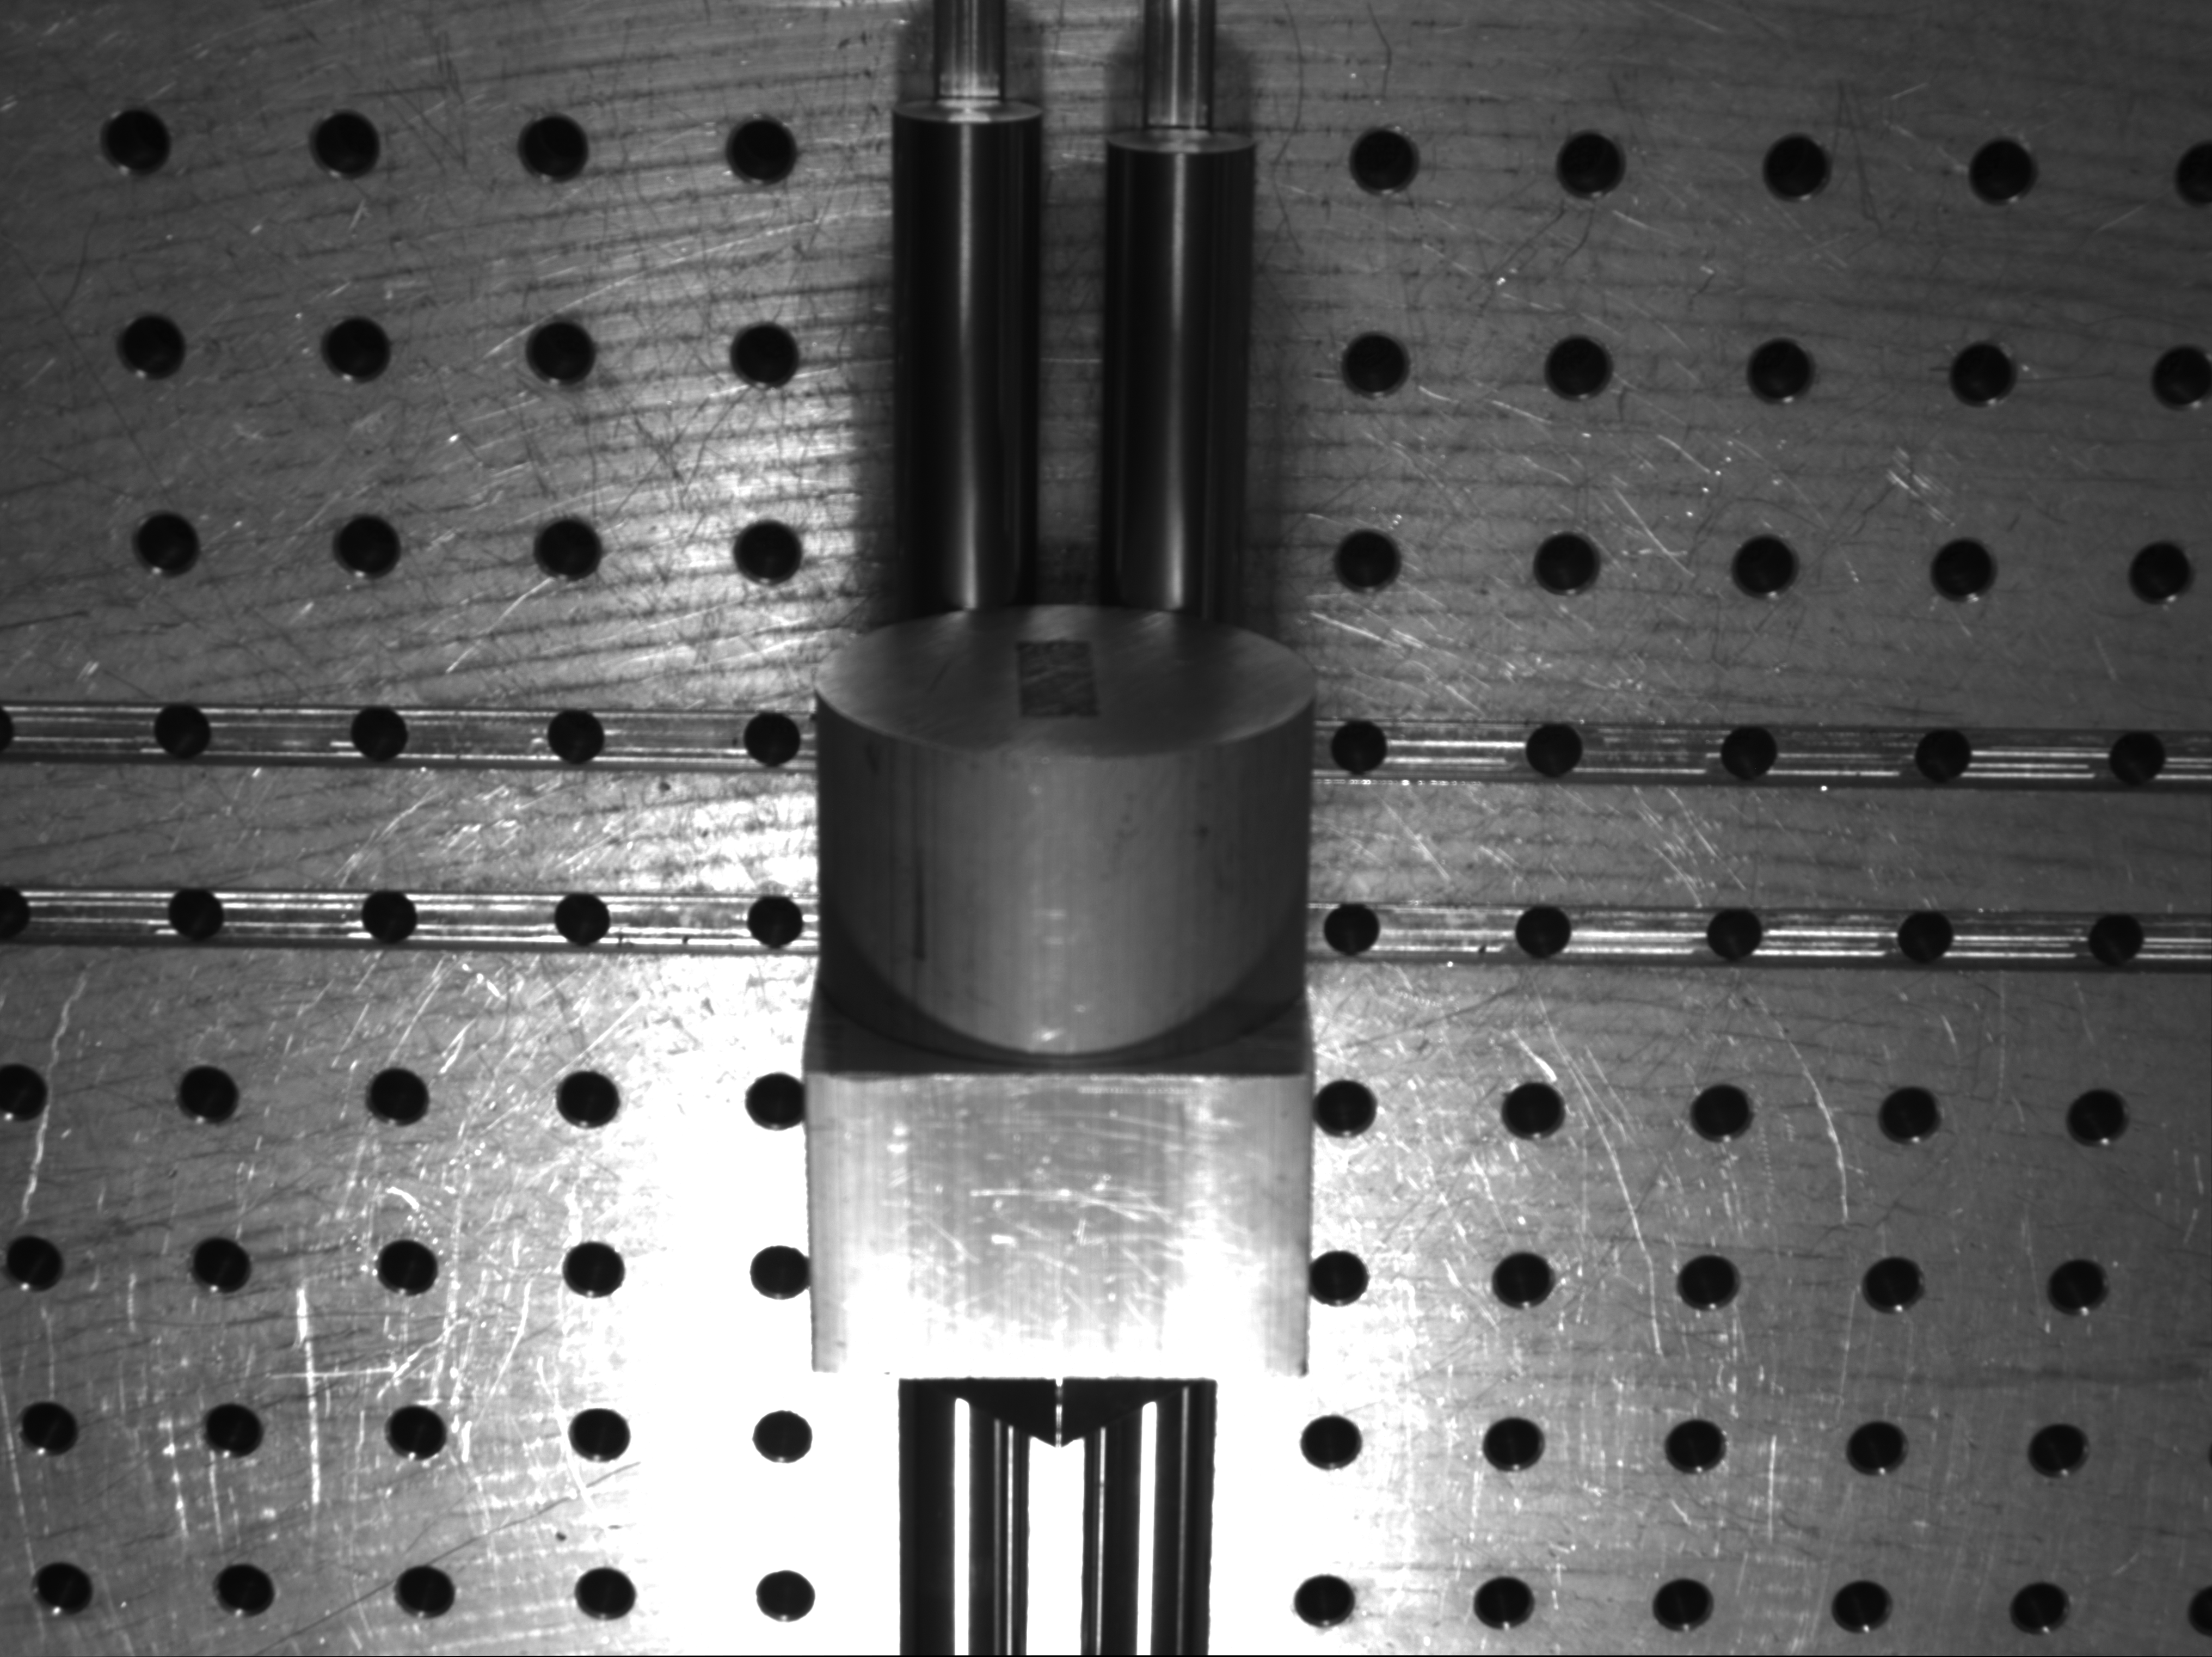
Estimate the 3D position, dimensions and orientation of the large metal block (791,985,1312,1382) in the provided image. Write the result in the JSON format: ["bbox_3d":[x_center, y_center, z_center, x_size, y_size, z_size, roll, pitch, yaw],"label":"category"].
[{"bbox_3d":[-0.009,0.050,0.608,0.080,0.080,0.050,0,110,-1],"label":"large metal block"}]

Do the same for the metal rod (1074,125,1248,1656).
[{"bbox_3d":[0.009,0.027,0.657,0.025,0.025,0.300,1,110,-1],"label":"metal rod"}]

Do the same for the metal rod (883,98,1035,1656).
[{"bbox_3d":[-0.027,0.023,0.655,0.025,0.025,0.300,1,110,-1],"label":"metal rod"}]

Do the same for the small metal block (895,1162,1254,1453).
[{"bbox_3d":[-0.010,0.080,0.637,0.050,0.050,0.025,-18,117,-42],"label":"small metal block"}]

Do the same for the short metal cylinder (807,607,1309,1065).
[{"bbox_3d":[-0.008,-0.001,0.593,0.080,0.080,0.050,1,110,-1],"label":"short metal cylinder"}]
